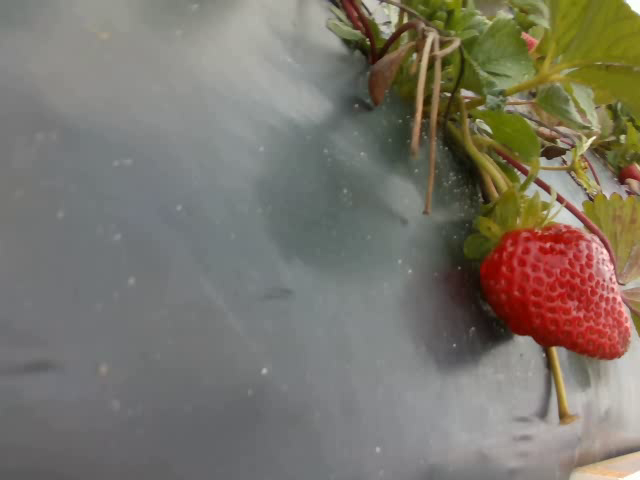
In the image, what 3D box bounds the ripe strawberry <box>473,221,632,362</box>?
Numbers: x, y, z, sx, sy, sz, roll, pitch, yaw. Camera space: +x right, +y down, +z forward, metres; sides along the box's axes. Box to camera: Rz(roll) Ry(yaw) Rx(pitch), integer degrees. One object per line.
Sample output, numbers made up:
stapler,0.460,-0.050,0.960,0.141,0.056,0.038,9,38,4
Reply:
ripe strawberry,0.025,0.006,0.059,0.014,0.017,0.018,-42,-31,5
